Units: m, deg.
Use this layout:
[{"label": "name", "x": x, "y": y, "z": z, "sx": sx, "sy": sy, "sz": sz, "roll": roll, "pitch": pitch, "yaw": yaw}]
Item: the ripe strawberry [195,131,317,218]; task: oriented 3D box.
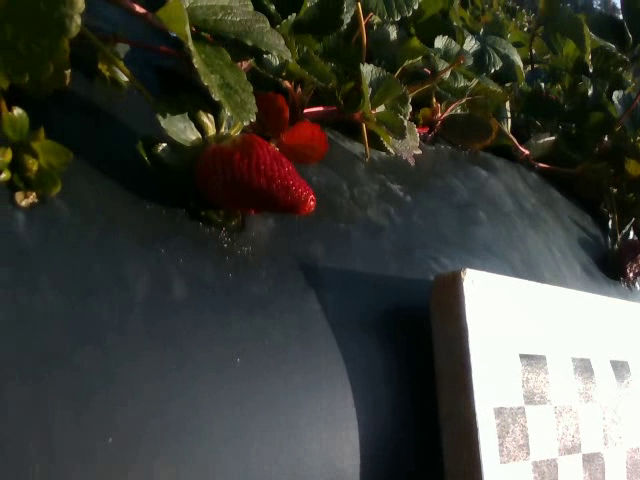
[{"label": "ripe strawberry", "x": -0.024, "y": -0.024, "z": 0.250, "sx": 0.056, "sy": 0.041, "sz": 0.041, "roll": 25, "pitch": -37, "yaw": 16}]
